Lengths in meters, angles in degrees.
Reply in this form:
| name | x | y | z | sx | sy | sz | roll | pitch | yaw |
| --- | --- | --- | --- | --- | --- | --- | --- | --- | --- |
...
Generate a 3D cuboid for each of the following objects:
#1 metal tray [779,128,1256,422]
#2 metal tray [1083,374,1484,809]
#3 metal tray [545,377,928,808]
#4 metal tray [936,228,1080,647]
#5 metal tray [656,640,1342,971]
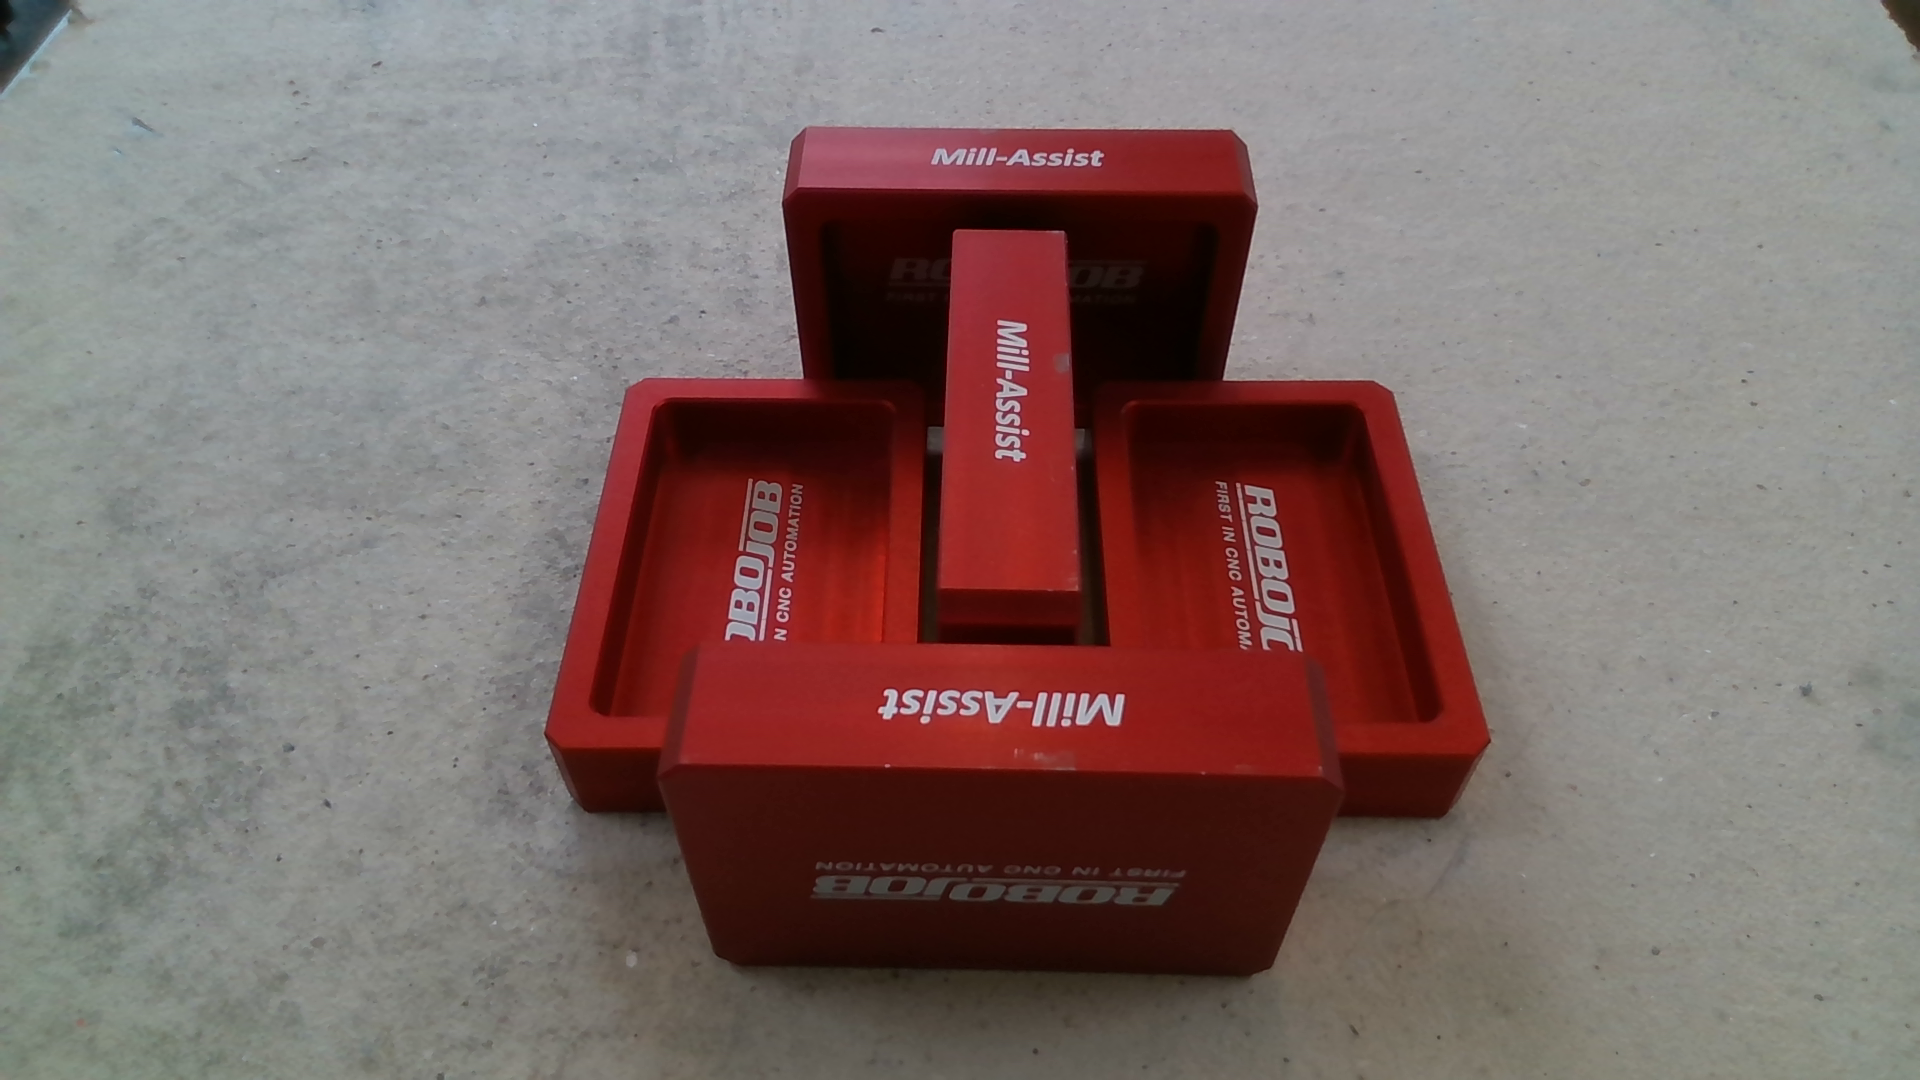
| name | x | y | z | sx | sy | sz | roll | pitch | yaw |
| --- | --- | --- | --- | --- | --- | --- | --- | --- | --- |
| metal tray | 0.016 | -0.077 | 0.416 | 0.130 | 0.090 | 0.030 | 0 | 51 | 1 |
| metal tray | 0.082 | 0.010 | 0.382 | 0.090 | 0.030 | 0.130 | -2 | 50 | 2 |
| metal tray | -0.056 | 0.010 | 0.383 | 0.090 | 0.030 | 0.130 | 1 | 50 | -1 |
| metal tray | 0.012 | -0.007 | 0.359 | 0.030 | 0.090 | 0.130 | 0 | 50 | 2 |
| metal tray | 0.007 | 0.061 | 0.300 | 0.130 | 0.090 | 0.030 | 1 | 50 | 1 |
